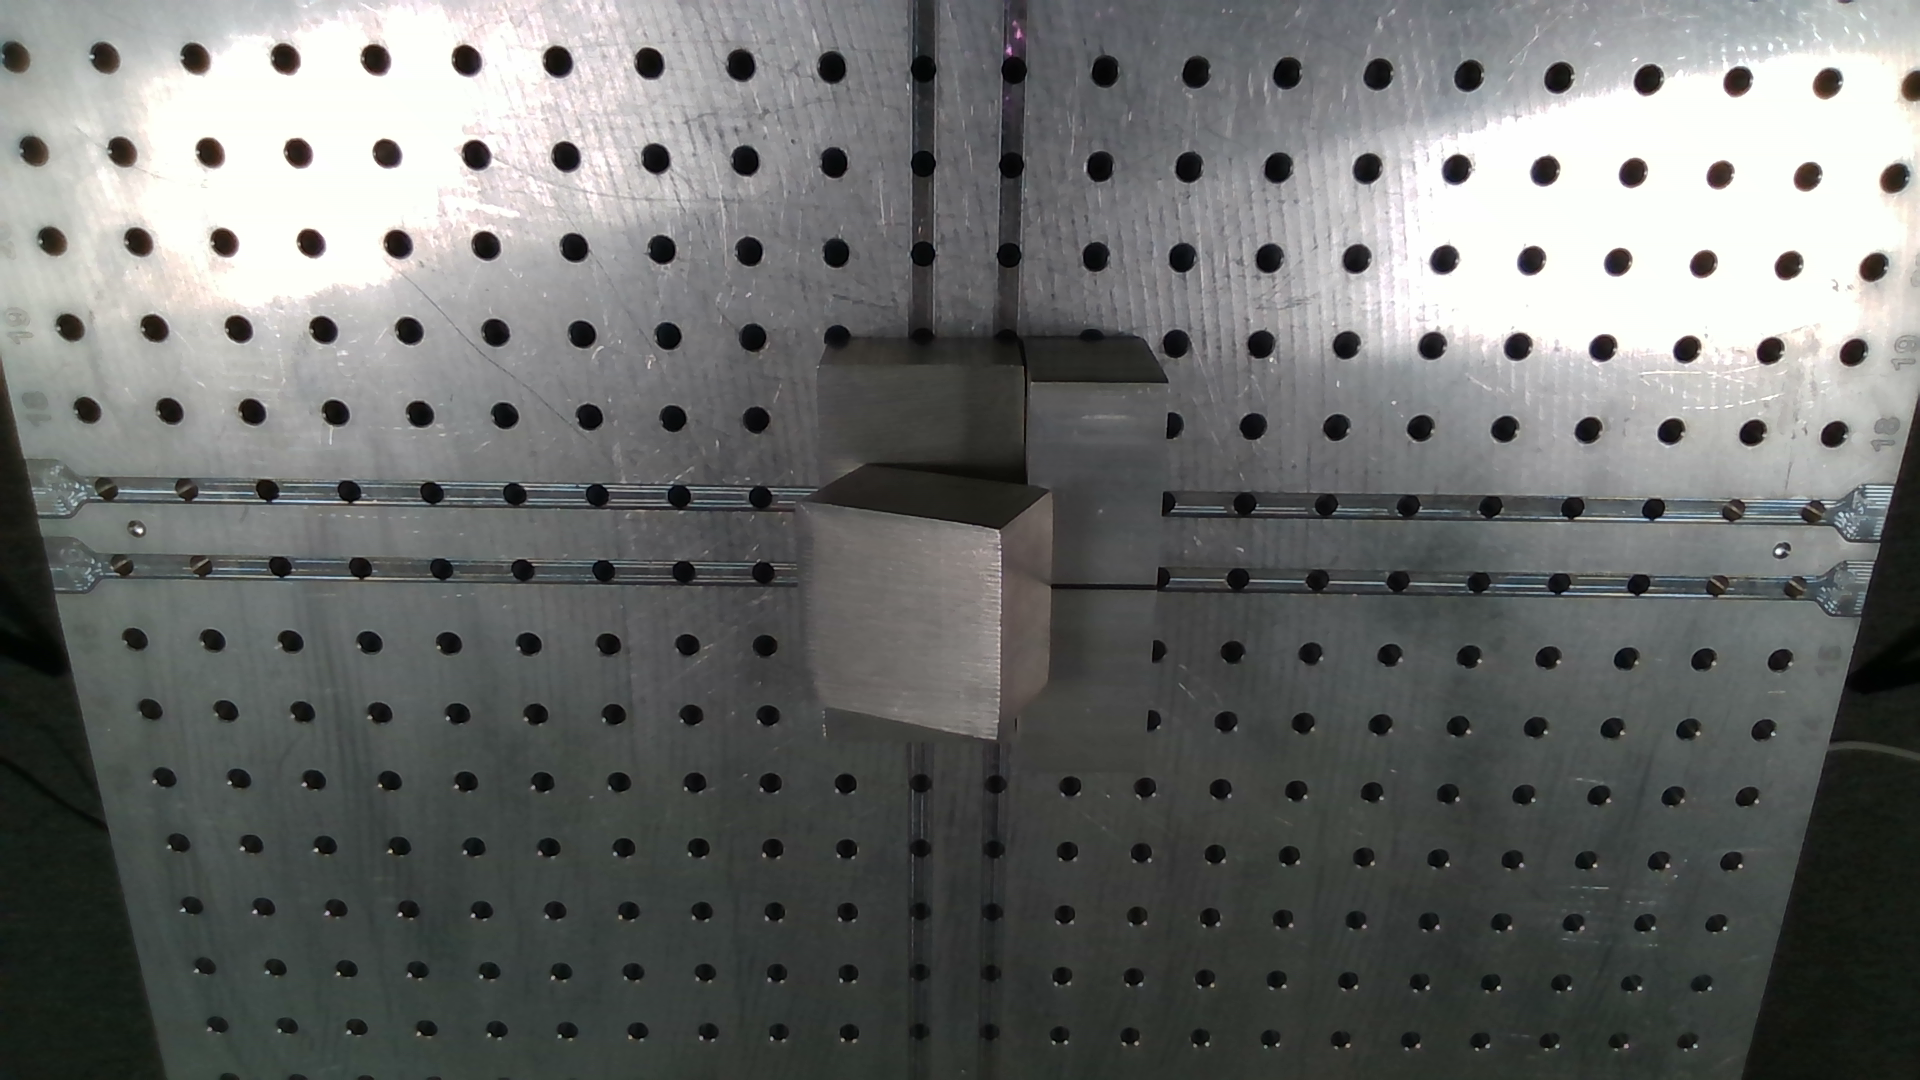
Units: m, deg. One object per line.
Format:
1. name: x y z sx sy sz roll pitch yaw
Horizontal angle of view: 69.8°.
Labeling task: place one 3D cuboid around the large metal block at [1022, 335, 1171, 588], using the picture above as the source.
1. large metal block: 0.050 -0.033 0.544 0.050 0.080 0.080 1 110 0

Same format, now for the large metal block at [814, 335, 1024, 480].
1. large metal block: -0.016 -0.038 0.558 0.080 0.050 0.080 1 110 0

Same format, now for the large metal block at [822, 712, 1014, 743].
1. large metal block: -0.017 0.038 0.585 0.080 0.050 0.080 1 110 0

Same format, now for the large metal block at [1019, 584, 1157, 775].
1. large metal block: 0.049 0.042 0.572 0.050 0.080 0.080 1 110 0

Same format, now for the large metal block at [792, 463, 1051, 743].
1. large metal block: -0.013 0.021 0.511 0.080 0.050 0.080 9 112 22
